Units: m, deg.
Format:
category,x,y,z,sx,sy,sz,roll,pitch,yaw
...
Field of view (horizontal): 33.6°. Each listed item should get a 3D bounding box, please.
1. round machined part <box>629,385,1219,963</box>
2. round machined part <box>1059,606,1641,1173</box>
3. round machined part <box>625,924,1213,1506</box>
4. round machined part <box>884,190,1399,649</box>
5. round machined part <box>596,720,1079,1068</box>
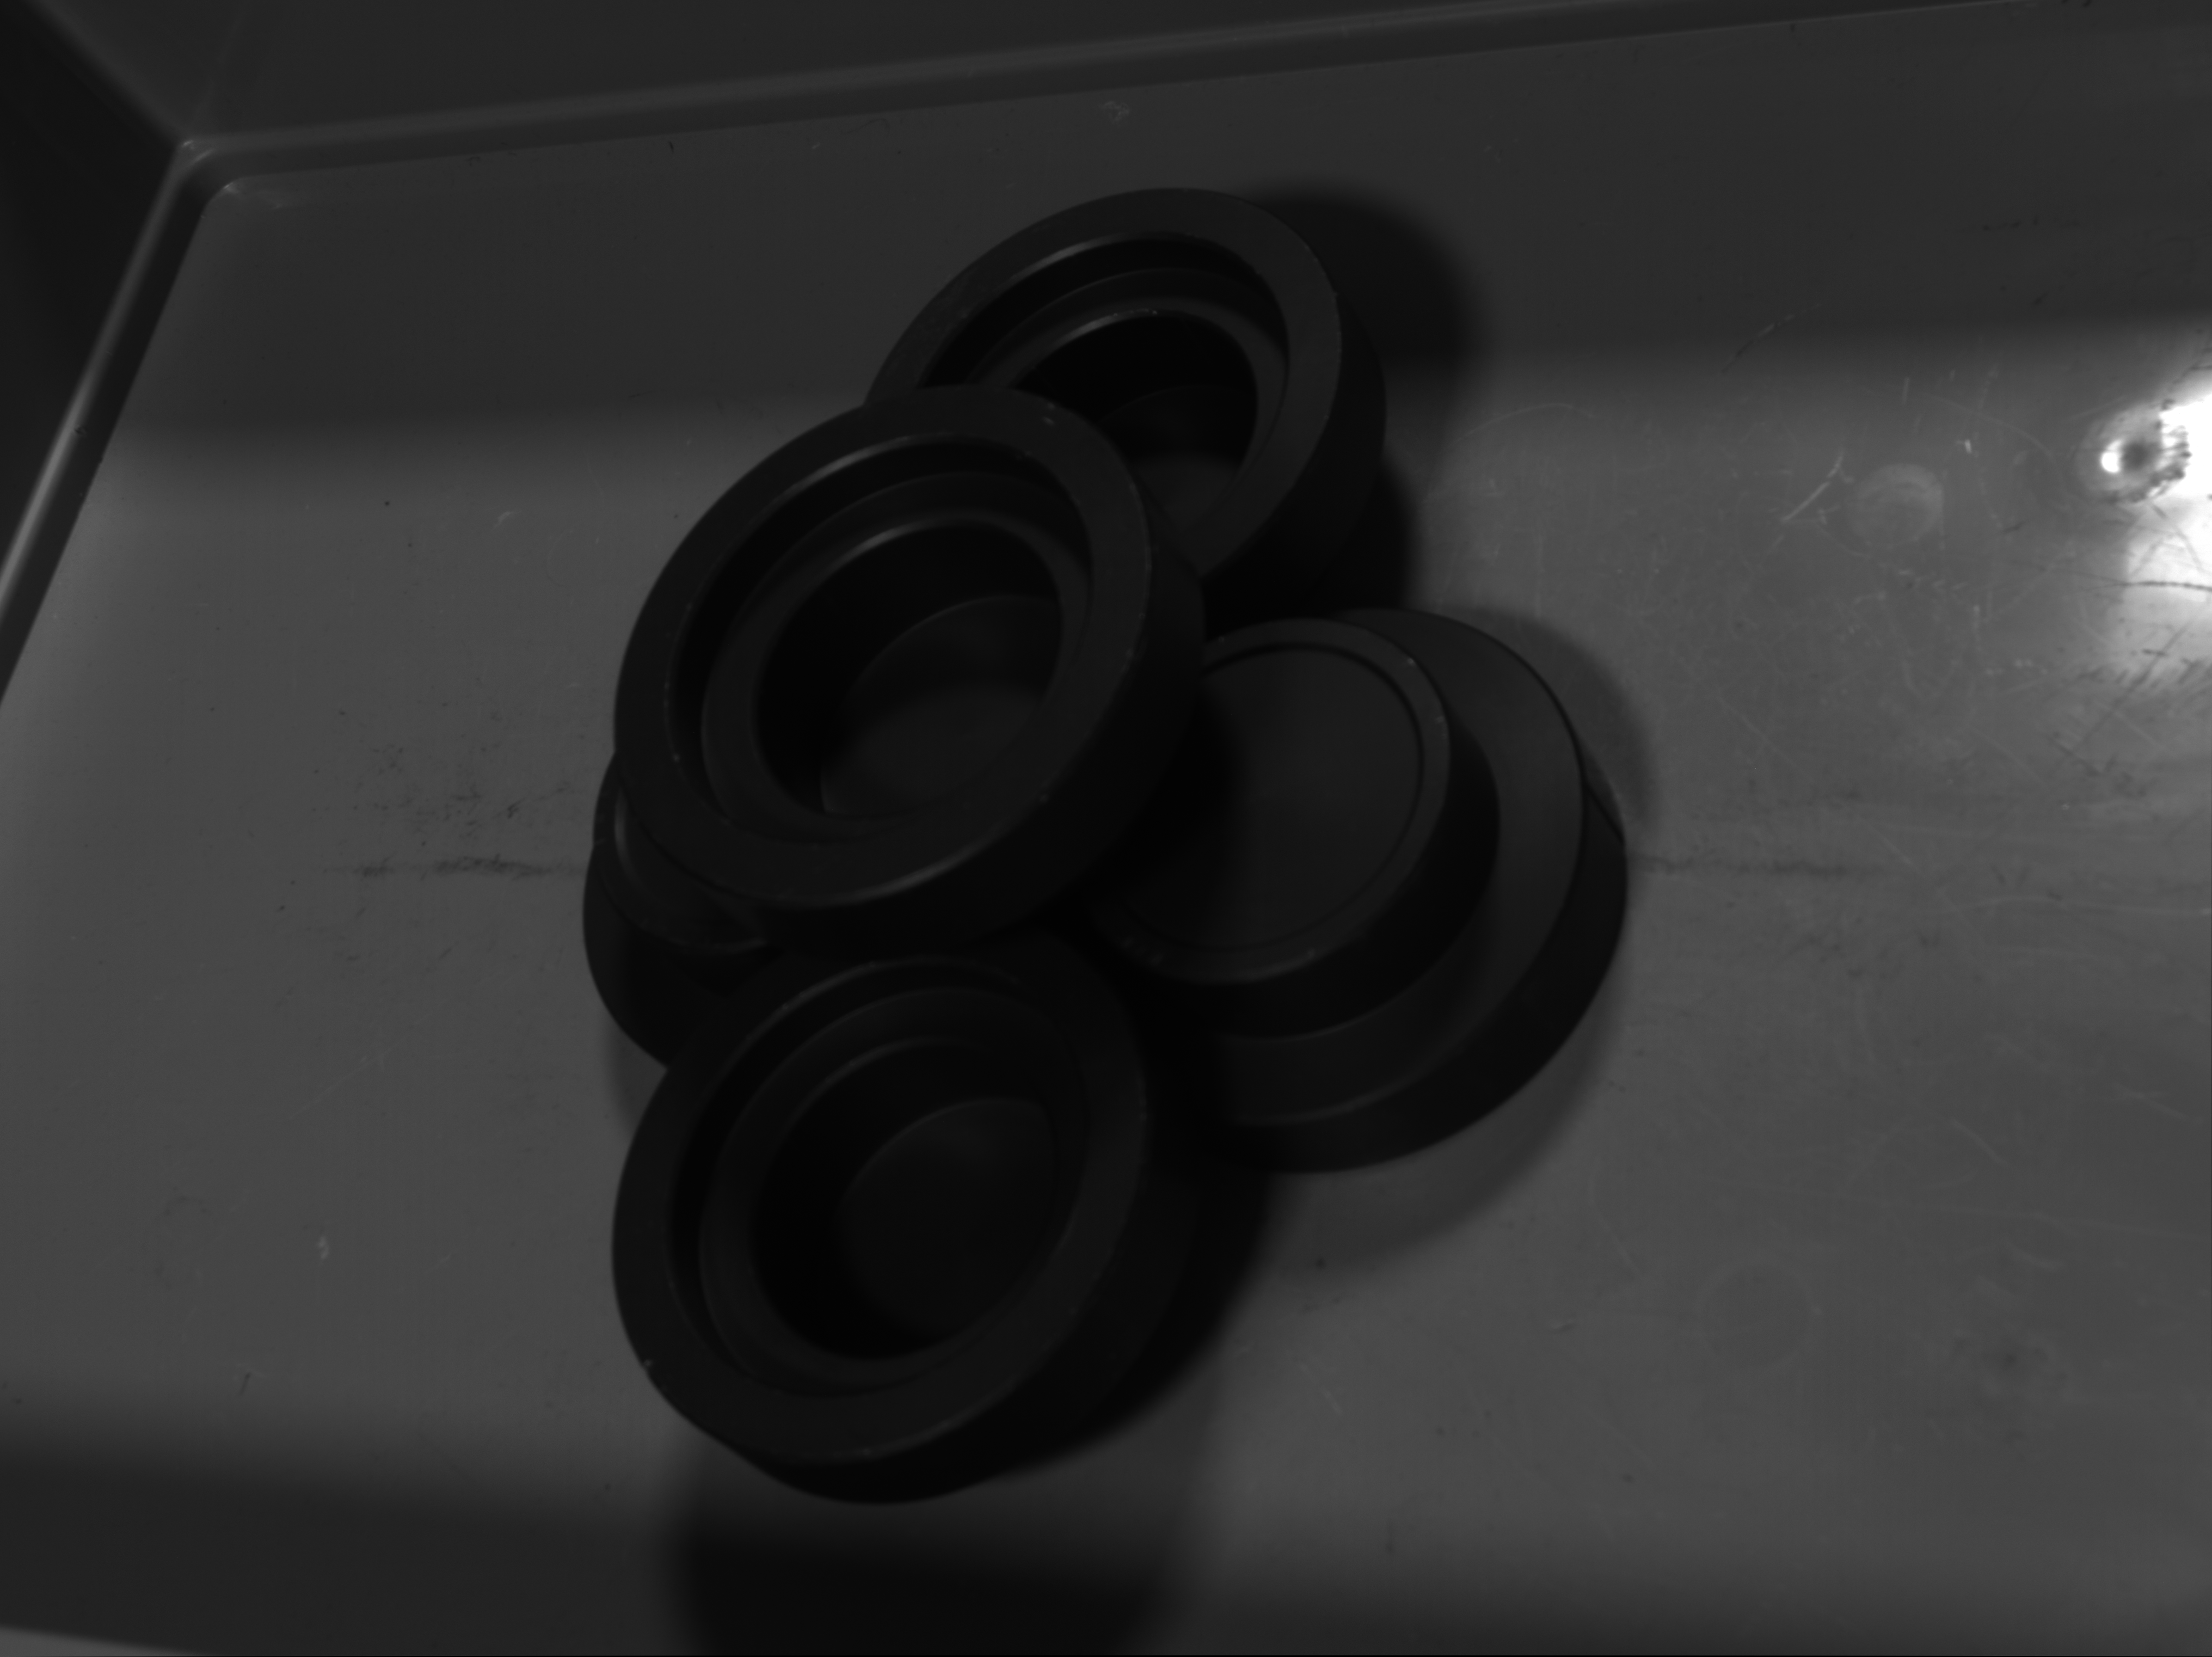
category,x,y,z,sx,sy,sz,roll,pitch,yaw
round machined part,-0.026,-0.021,0.604,0.098,0.042,0.098,-13,56,21
round machined part,0.036,0.004,0.609,0.098,0.042,0.098,-13,56,21
round machined part,-0.027,0.065,0.605,0.098,0.042,0.098,-13,56,21
round machined part,0.008,-0.064,0.667,0.098,0.042,0.098,-13,56,21
round machined part,-0.050,0.002,0.658,0.098,0.042,0.098,-13,56,21
